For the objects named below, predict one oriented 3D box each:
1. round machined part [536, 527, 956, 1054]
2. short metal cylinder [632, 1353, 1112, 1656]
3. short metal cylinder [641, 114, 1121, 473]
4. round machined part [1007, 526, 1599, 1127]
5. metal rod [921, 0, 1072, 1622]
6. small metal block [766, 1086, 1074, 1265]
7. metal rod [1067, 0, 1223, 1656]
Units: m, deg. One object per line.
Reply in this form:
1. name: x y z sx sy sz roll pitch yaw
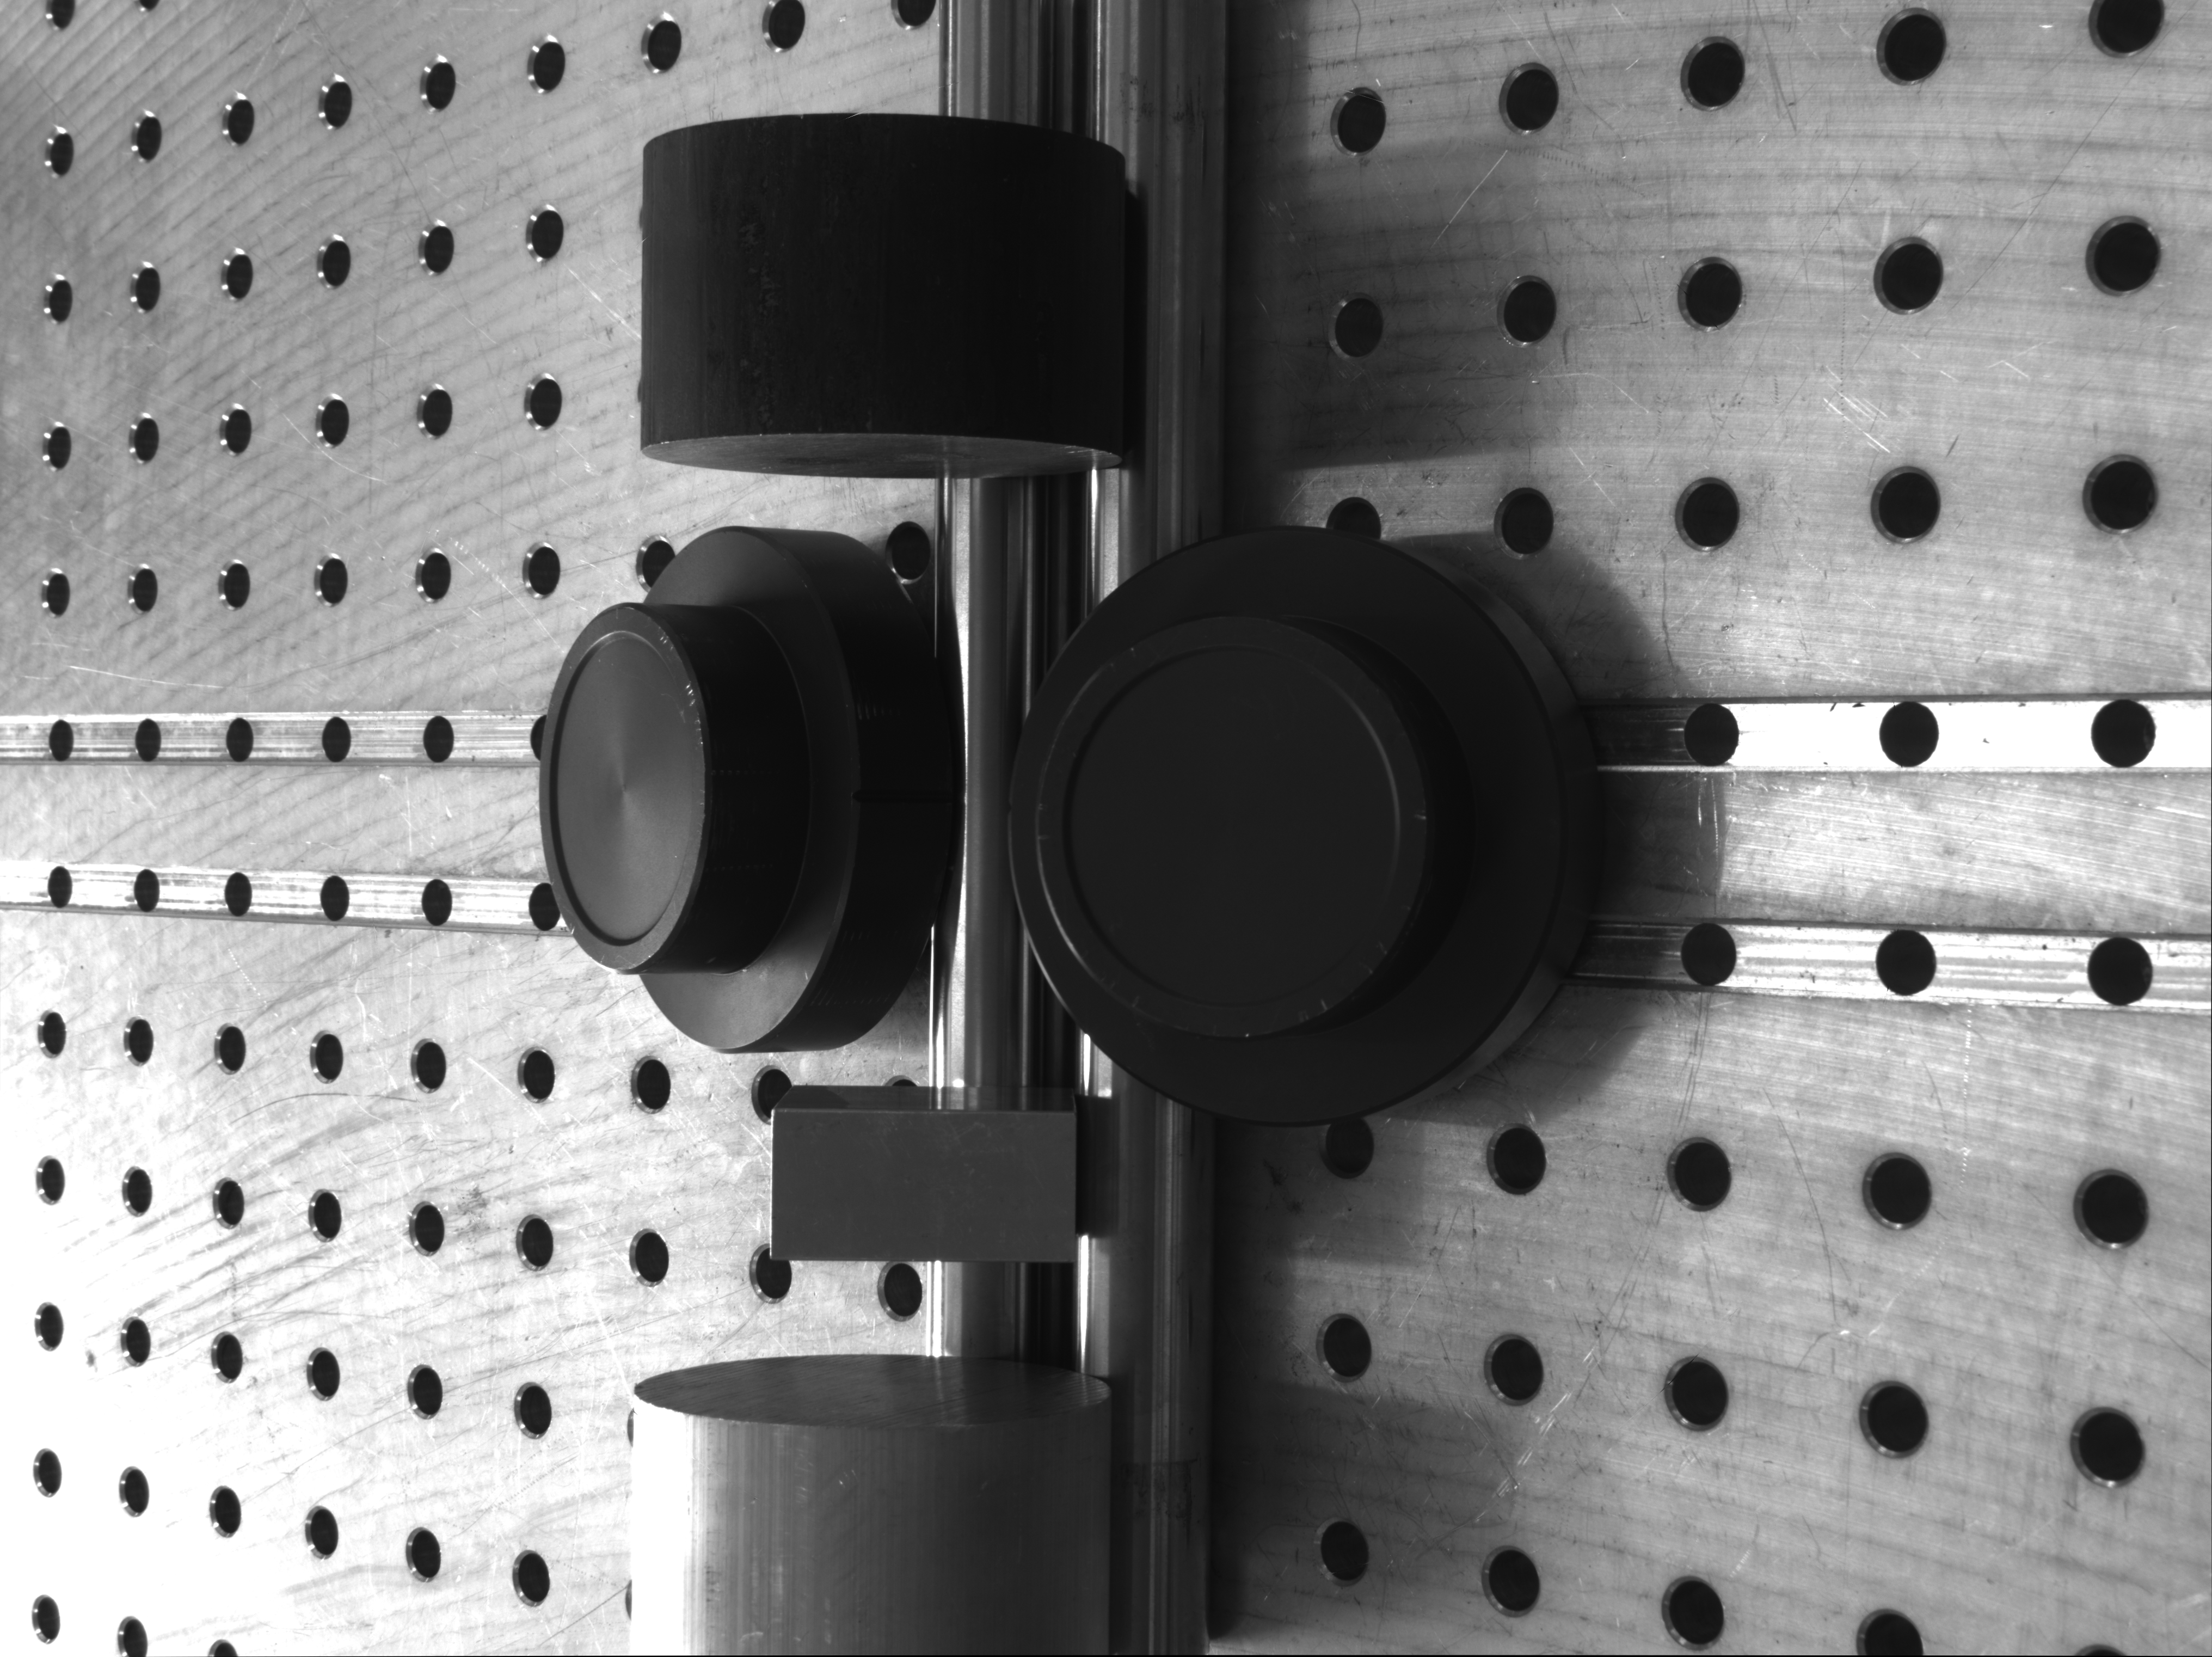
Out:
1. round machined part: -0.072 -0.007 0.681 0.098 0.042 0.098 -1 89 54
2. short metal cylinder: -0.039 0.119 0.617 0.080 0.080 0.050 1 90 40
3. short metal cylinder: -0.037 -0.087 0.615 0.080 0.080 0.050 1 90 40
4. round machined part: 0.027 0.000 0.597 0.098 0.042 0.098 0 90 25
5. metal rod: -0.020 -0.004 0.664 0.025 0.025 0.300 1 90 40
6. small metal block: -0.031 0.059 0.627 0.050 0.050 0.025 1 90 -1
7. metal rod: 0.007 -0.006 0.641 0.025 0.025 0.300 1 90 40
